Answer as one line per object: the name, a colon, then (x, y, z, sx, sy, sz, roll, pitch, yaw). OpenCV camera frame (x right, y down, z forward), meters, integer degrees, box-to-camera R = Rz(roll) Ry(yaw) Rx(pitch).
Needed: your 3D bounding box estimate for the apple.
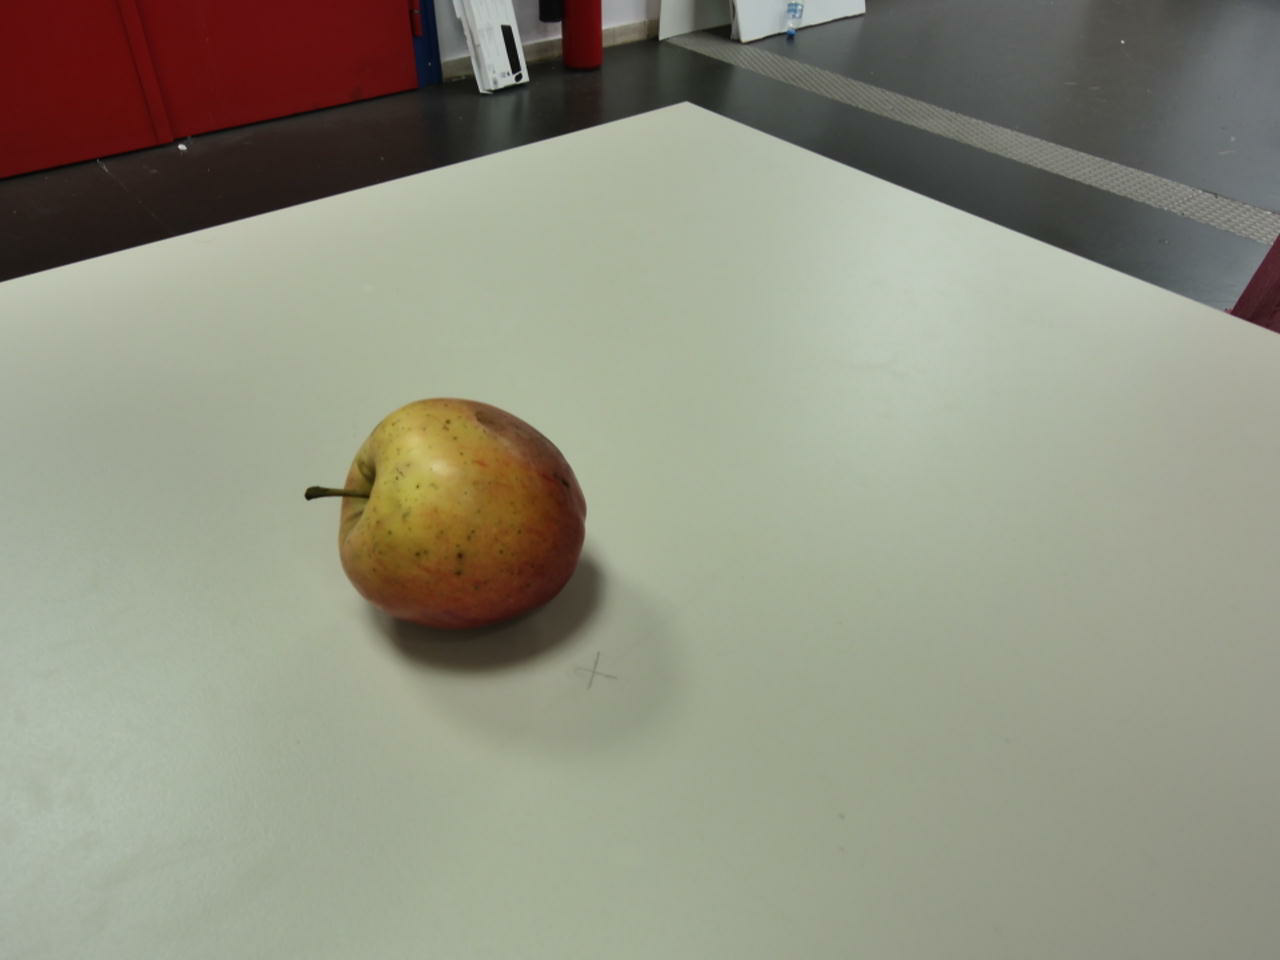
apple: (-0.068, 0.013, 0.370, 0.093, 0.084, 0.086, 10, 37, 11)
